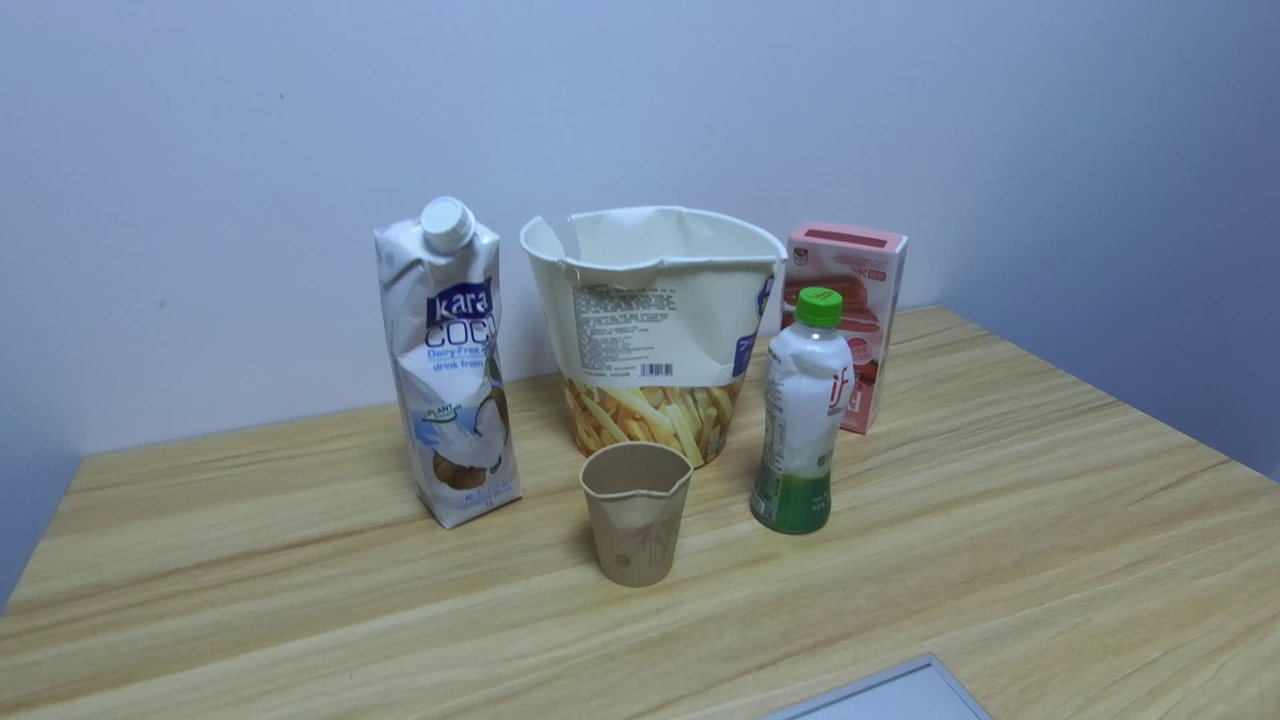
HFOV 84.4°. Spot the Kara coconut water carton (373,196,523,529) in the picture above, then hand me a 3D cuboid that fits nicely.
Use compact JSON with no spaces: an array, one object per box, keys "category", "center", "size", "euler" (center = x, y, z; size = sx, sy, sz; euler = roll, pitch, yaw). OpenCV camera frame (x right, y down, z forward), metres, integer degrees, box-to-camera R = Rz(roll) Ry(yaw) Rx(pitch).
[{"category":"Kara coconut water carton","center":[-0.142,0.002,0.529],"size":[0.083,0.256,0.078],"euler":[-12,32,-22]}]

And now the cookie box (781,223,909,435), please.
[{"category":"cookie box","center":[0.178,-0.030,0.659],"size":[0.105,0.187,0.049],"euler":[14,32,24]}]

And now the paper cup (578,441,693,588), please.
[{"category":"paper cup","center":[-0.004,0.111,0.501],"size":[0.068,0.081,0.074],"euler":[15,31,28]}]

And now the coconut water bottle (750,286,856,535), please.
[{"category":"coconut water bottle","center":[0.123,0.039,0.526],"size":[0.069,0.186,0.069],"euler":[2,28,-1]}]

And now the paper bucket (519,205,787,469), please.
[{"category":"paper bucket","center":[0.007,-0.021,0.626],"size":[0.203,0.197,0.145],"euler":[-5,28,-10]}]
